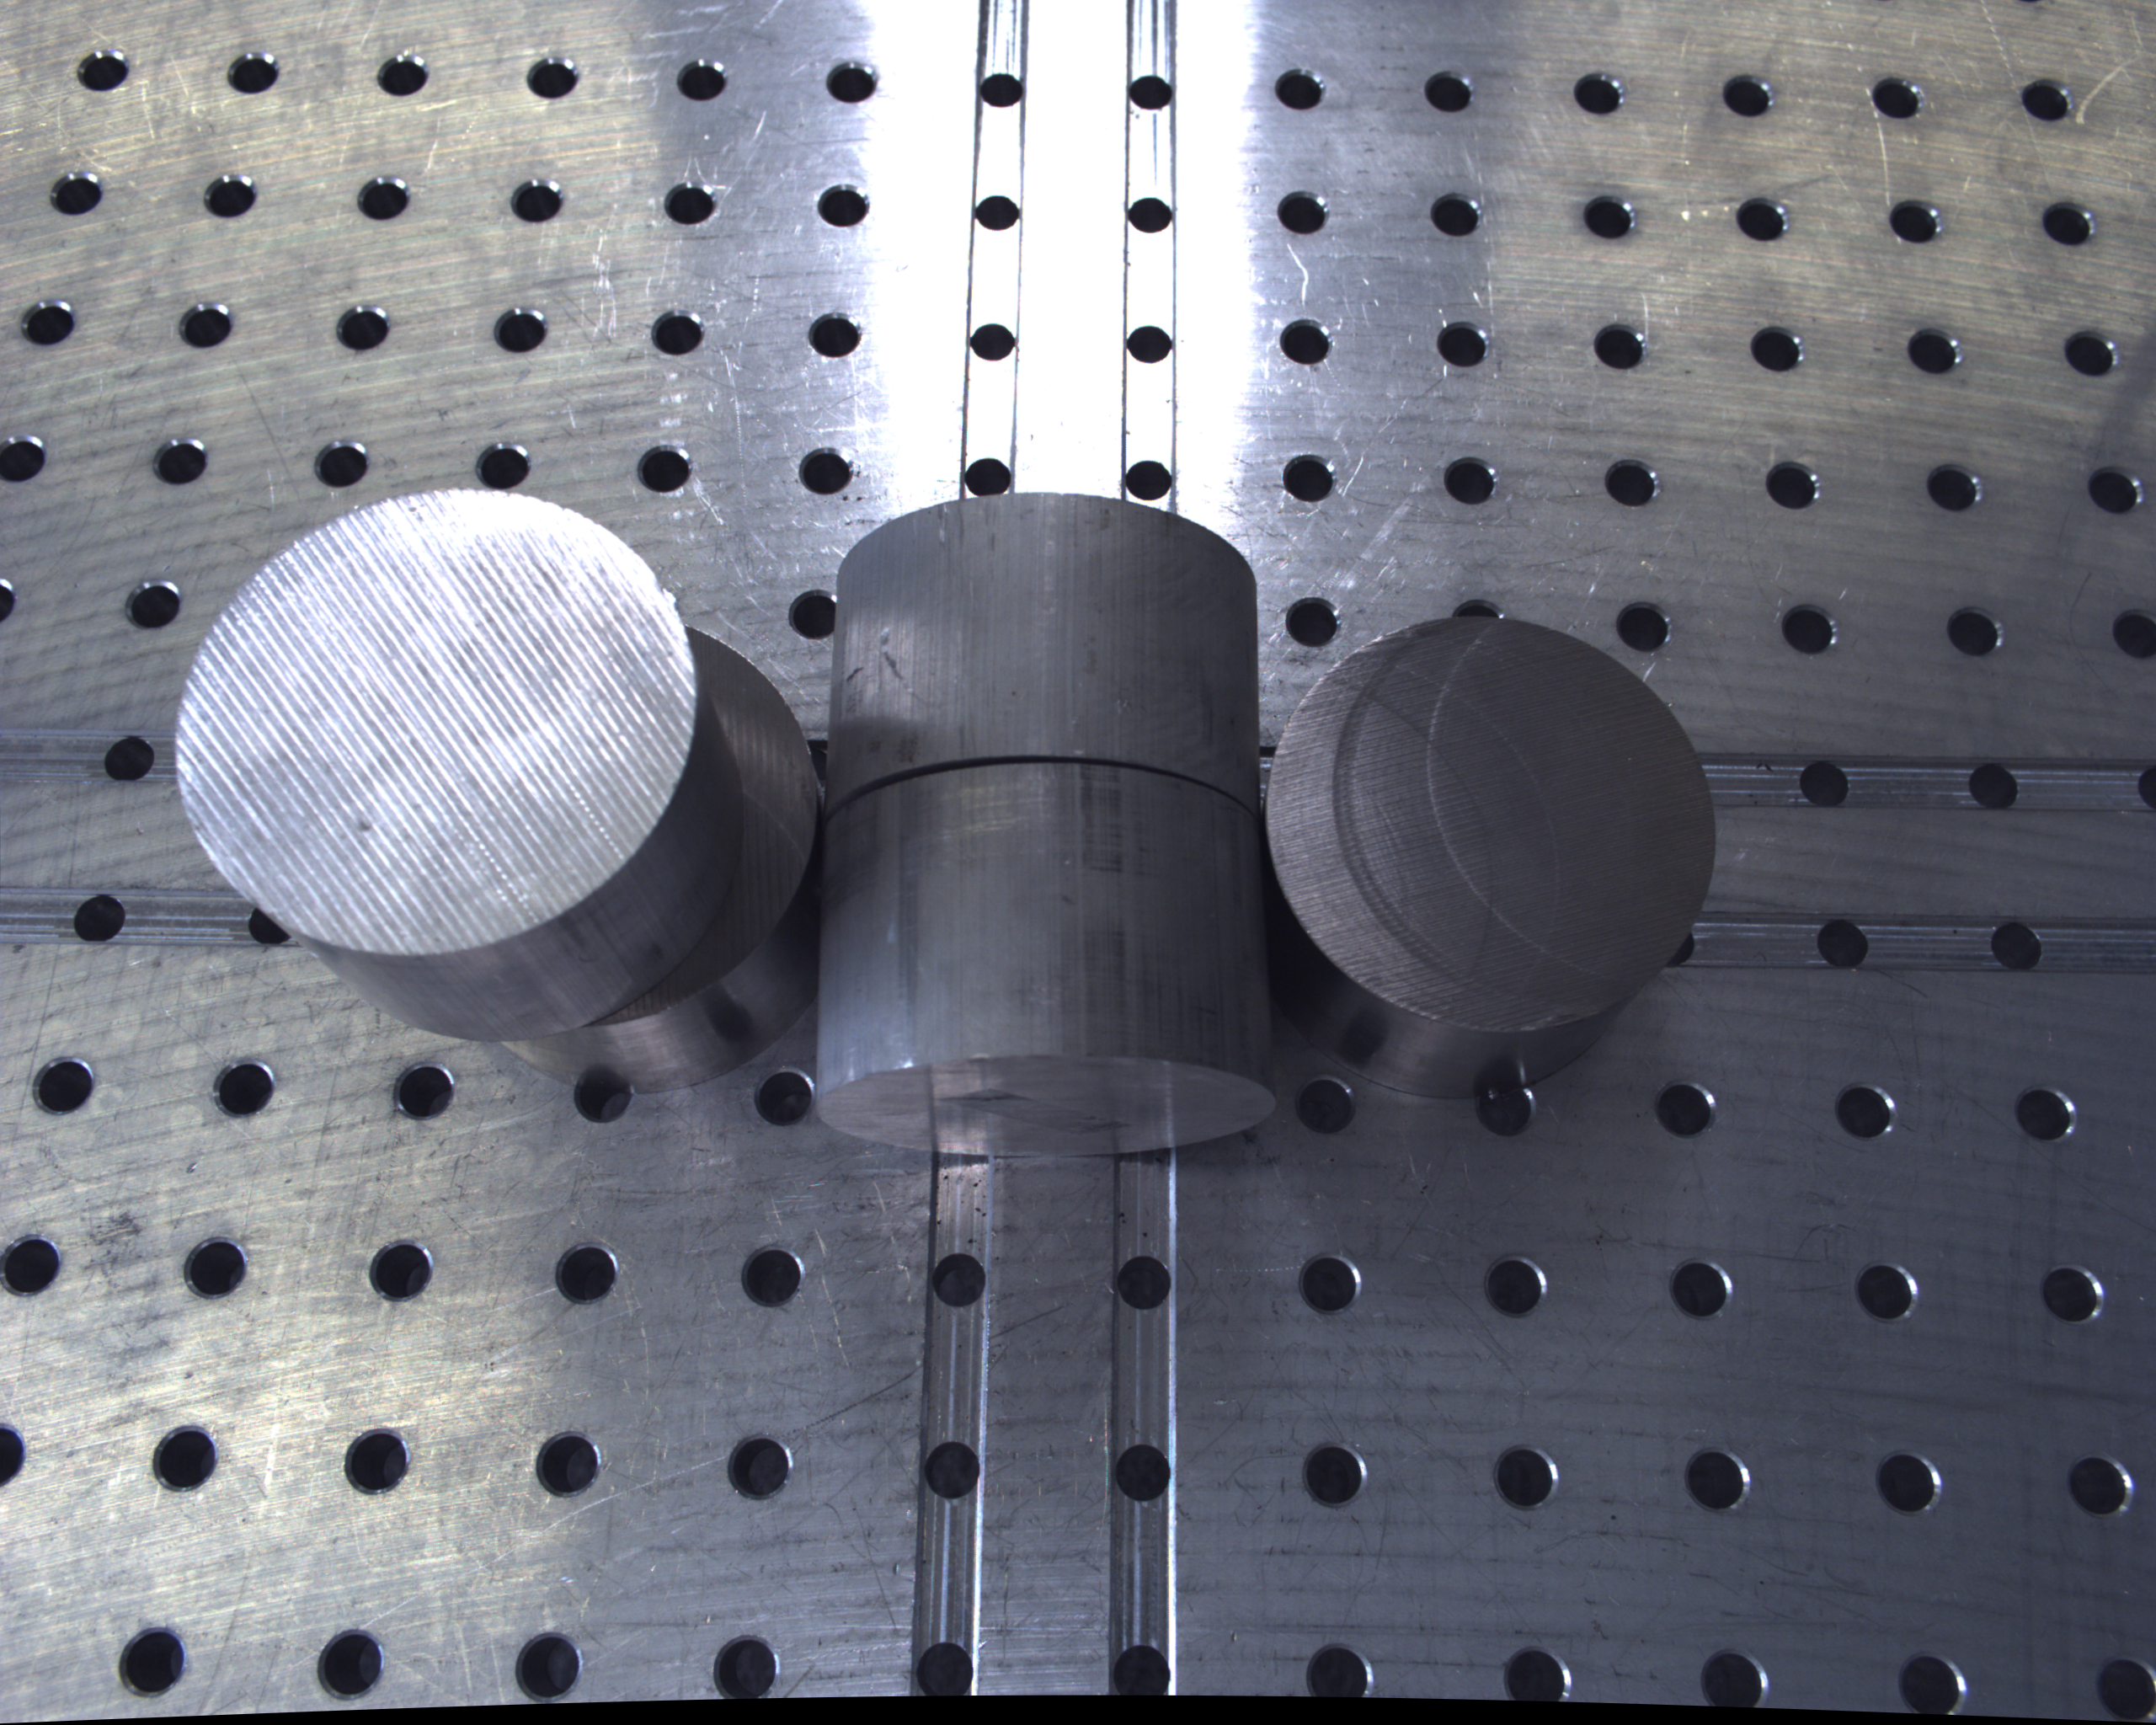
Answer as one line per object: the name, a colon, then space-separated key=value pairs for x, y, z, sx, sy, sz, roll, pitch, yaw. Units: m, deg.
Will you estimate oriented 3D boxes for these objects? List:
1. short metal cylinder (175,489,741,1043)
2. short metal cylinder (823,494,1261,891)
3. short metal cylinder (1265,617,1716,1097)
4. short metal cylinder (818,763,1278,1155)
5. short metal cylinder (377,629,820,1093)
short metal cylinder: x=-0.100 y=-0.015 z=0.348 sx=0.081 sy=0.050 sz=0.080 roll=0 pitch=70 yaw=0
short metal cylinder: x=-0.006 y=-0.028 z=0.393 sx=0.081 sy=0.080 sz=0.050 roll=1 pitch=71 yaw=0
short metal cylinder: x=0.074 y=0.000 z=0.398 sx=0.081 sy=0.050 sz=0.080 roll=0 pitch=70 yaw=0
short metal cylinder: x=-0.006 y=0.020 z=0.375 sx=0.081 sy=0.080 sz=0.050 roll=-1 pitch=70 yaw=-1
short metal cylinder: x=-0.087 y=-0.001 z=0.398 sx=0.081 sy=0.050 sz=0.080 roll=0 pitch=70 yaw=0
